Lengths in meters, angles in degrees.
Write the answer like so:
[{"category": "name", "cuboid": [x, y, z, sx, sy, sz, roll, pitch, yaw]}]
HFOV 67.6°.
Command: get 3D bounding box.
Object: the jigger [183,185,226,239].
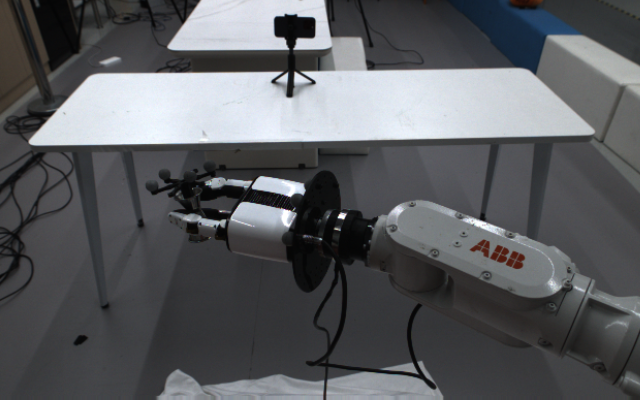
[{"category": "jigger", "cuboid": [-0.175, 0.022, 0.687, 0.043, 0.071, 0.043, -12, 25, 5]}]
